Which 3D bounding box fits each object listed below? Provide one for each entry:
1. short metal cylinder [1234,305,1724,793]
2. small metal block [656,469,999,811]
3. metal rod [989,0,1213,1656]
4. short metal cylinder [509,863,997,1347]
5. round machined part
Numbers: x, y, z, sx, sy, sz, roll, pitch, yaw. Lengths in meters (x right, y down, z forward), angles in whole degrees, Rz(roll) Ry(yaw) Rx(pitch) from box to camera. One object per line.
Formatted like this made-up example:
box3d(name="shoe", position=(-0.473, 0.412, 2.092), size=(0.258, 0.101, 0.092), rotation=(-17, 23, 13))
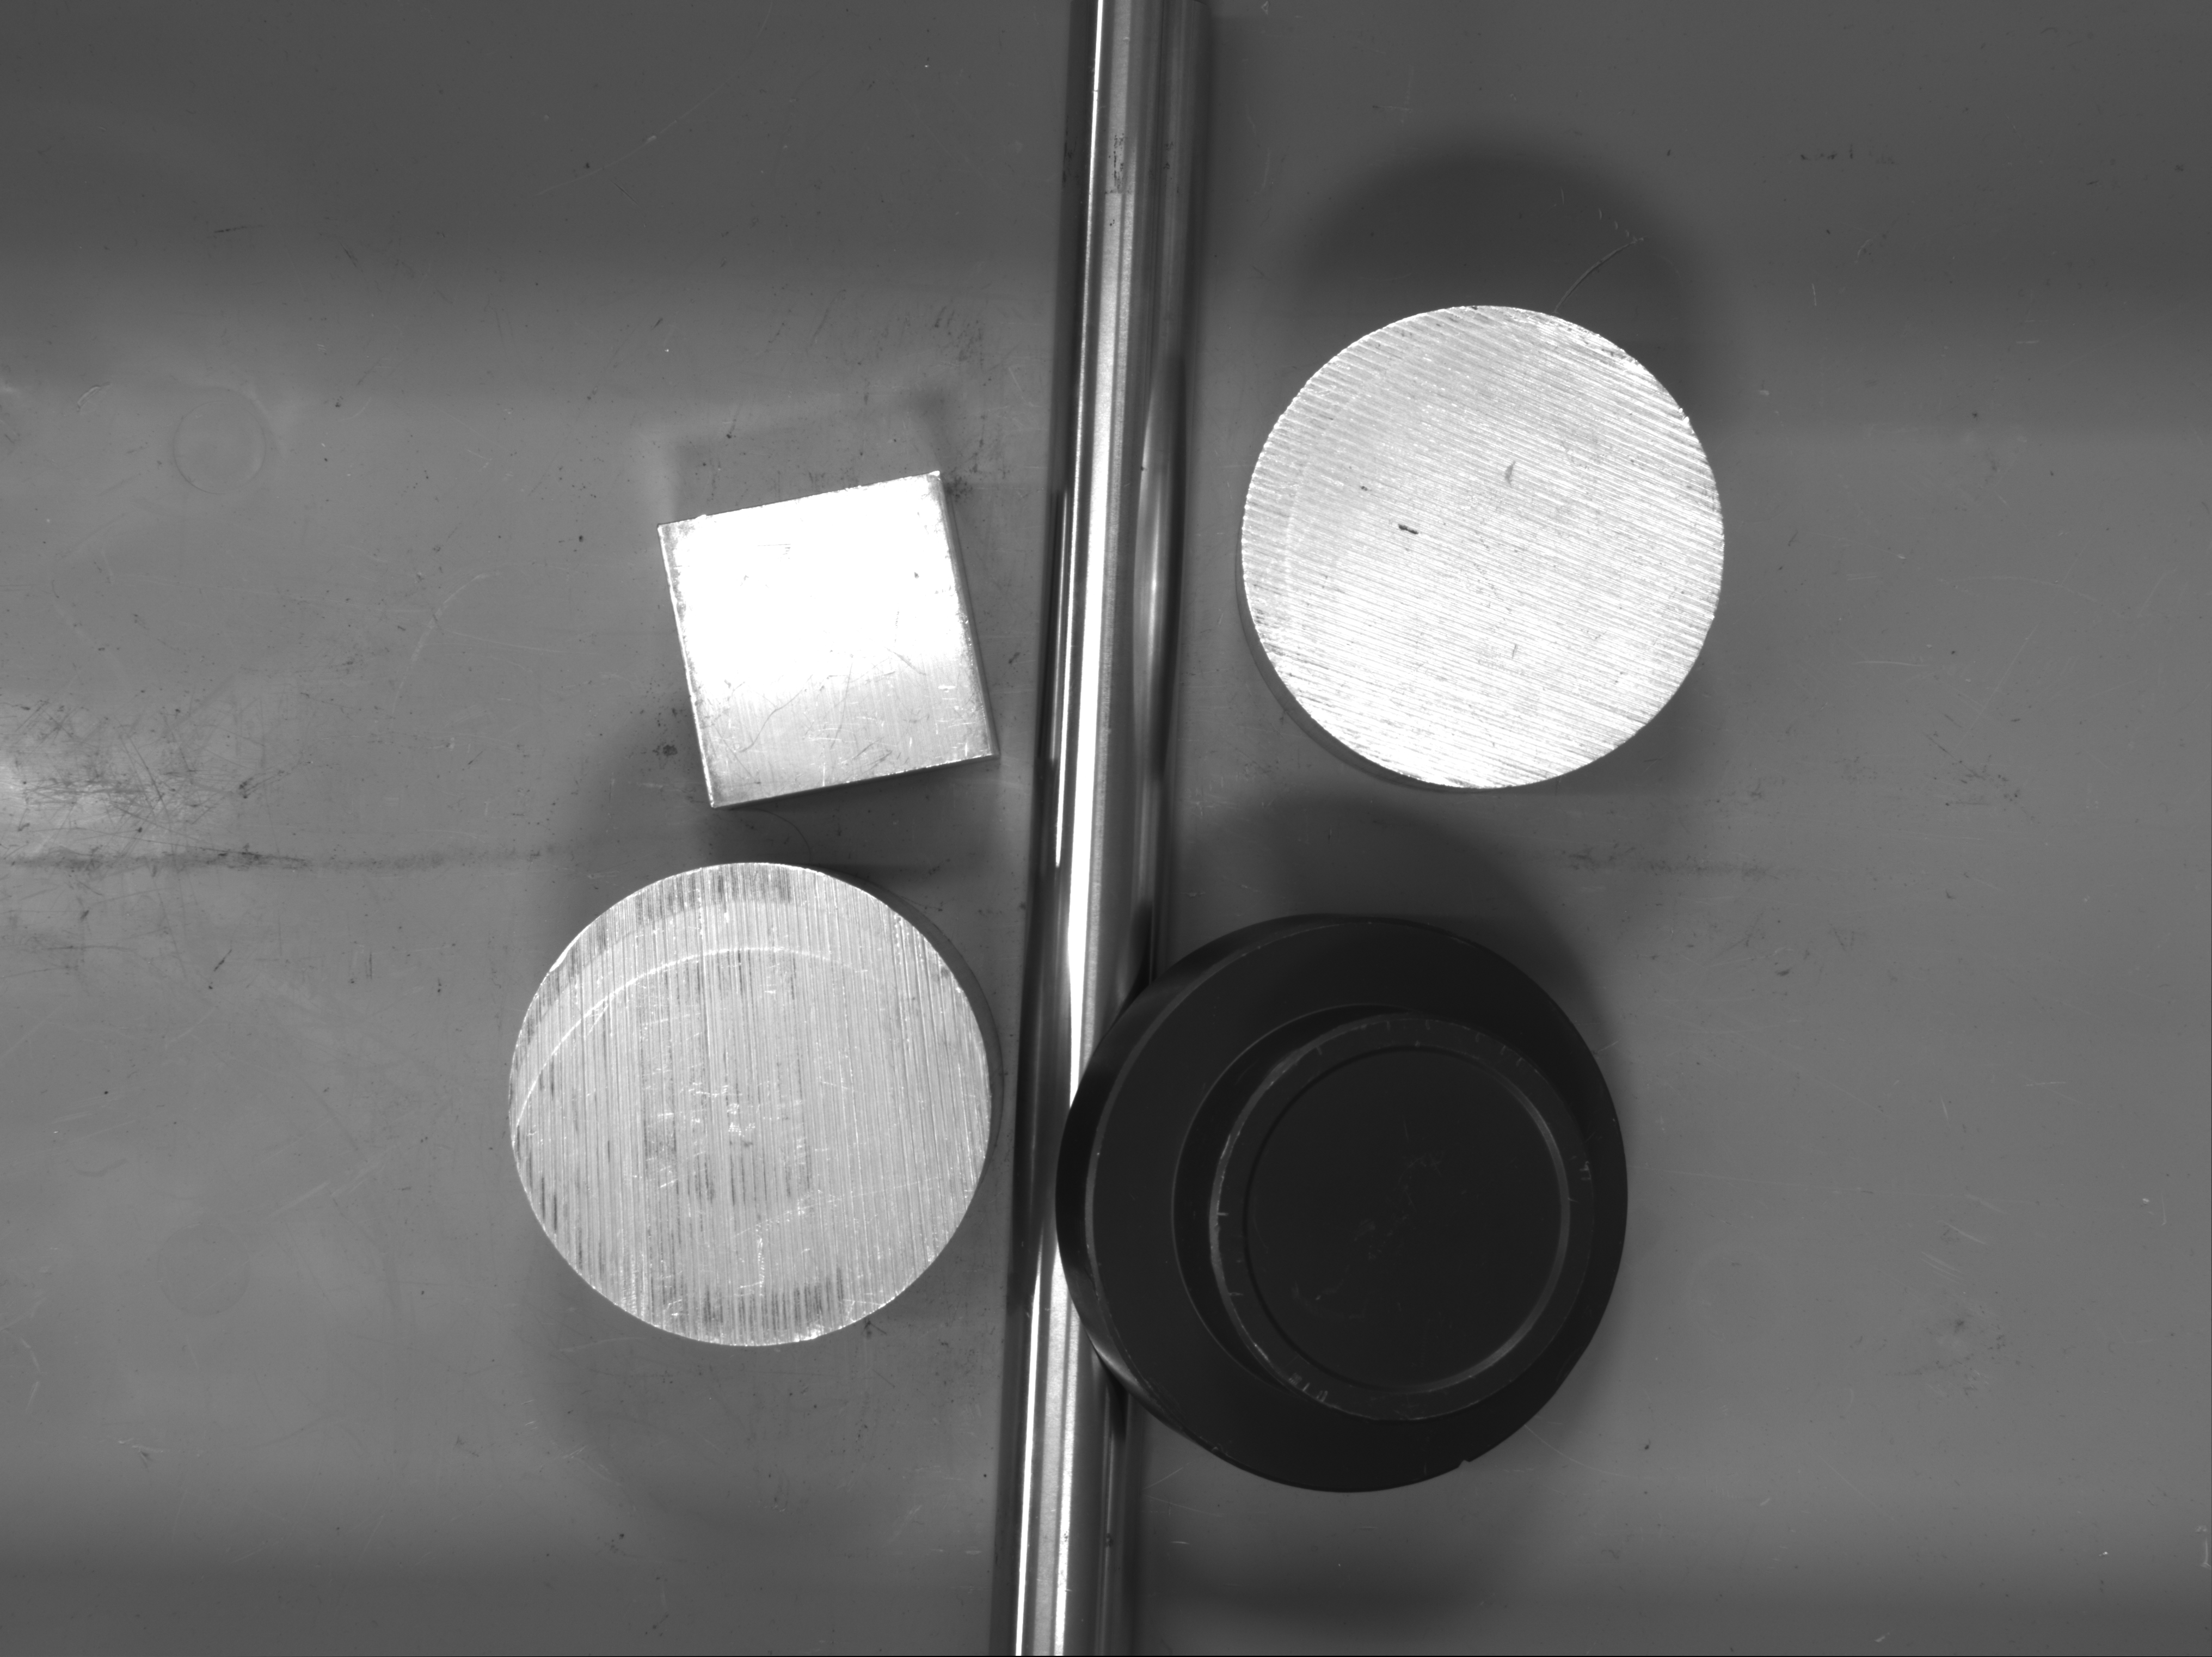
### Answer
box3d(name="short metal cylinder", position=(0.062, -0.046, 0.632), size=(0.080, 0.050, 0.080), rotation=(0, 90, 0))
box3d(name="small metal block", position=(-0.048, -0.032, 0.644), size=(0.050, 0.025, 0.050), rotation=(-11, 90, 0))
box3d(name="metal rod", position=(-0.001, 0.006, 0.644), size=(0.025, 0.025, 0.300), rotation=(3, 90, 0))
box3d(name="short metal cylinder", position=(-0.058, 0.046, 0.631), size=(0.080, 0.050, 0.080), rotation=(0, 90, 0))
box3d(name="round machined part", position=(0.044, 0.064, 0.624), size=(0.098, 0.042, 0.098), rotation=(0, 89, -16))
